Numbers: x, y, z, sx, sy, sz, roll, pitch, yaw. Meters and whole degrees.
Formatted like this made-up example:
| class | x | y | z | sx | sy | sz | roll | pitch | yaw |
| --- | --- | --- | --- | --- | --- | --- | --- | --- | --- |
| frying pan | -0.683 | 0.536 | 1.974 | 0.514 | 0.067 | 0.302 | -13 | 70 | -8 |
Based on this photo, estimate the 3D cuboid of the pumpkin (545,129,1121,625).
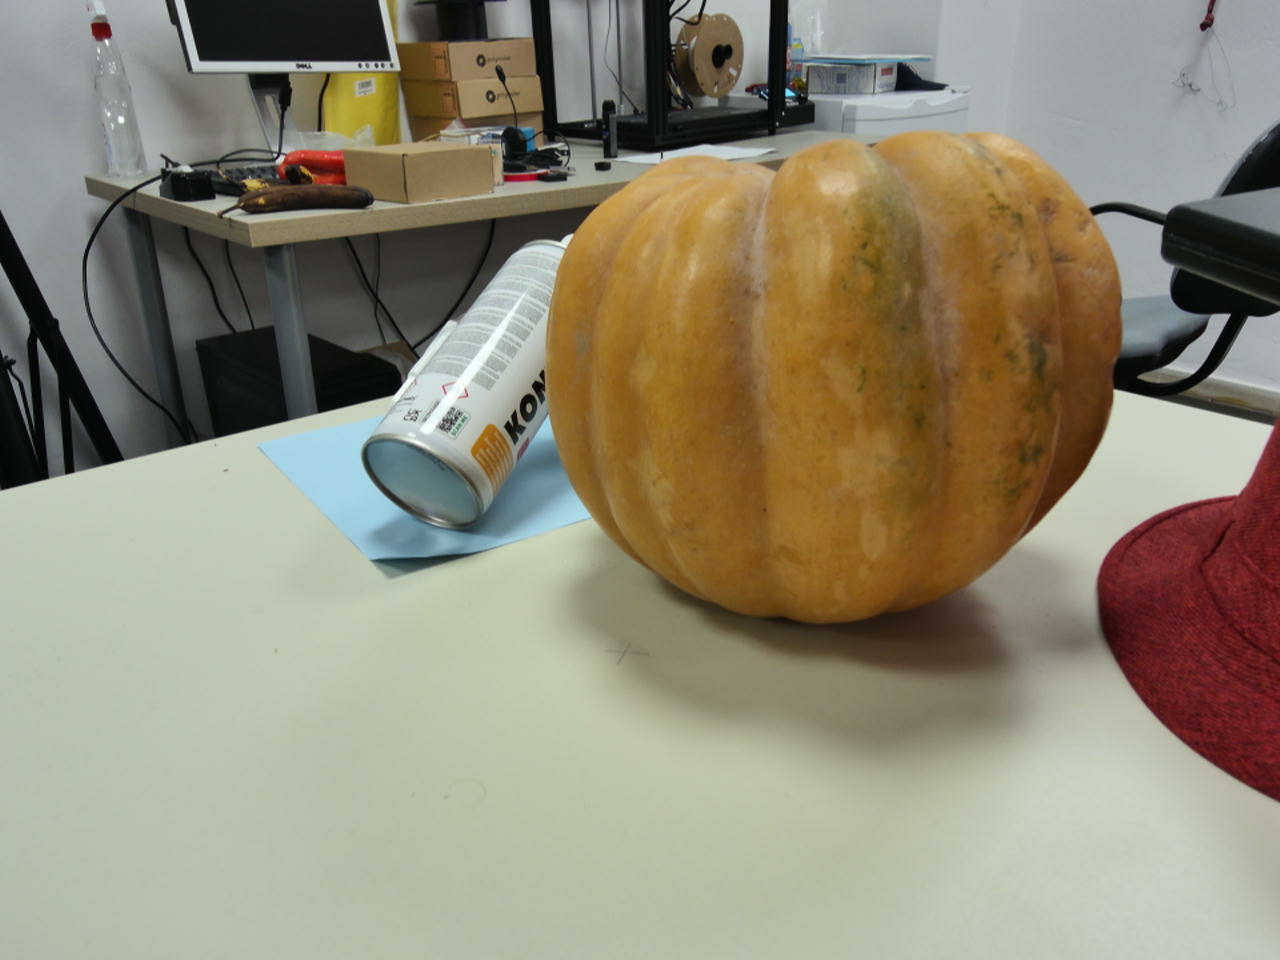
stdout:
| class | x | y | z | sx | sy | sz | roll | pitch | yaw |
| --- | --- | --- | --- | --- | --- | --- | --- | --- | --- |
| pumpkin | 0.074 | -0.044 | 0.417 | 0.230 | 0.194 | 0.230 | 0 | 22 | 0 |
